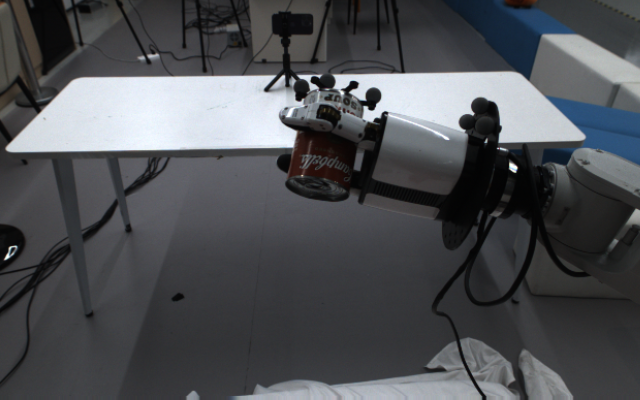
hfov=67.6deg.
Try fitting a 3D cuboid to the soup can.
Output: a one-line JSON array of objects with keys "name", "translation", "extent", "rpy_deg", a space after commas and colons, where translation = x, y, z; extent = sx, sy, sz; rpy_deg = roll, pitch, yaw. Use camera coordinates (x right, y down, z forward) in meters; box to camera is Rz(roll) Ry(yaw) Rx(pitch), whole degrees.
[{"name": "soup can", "translation": [0.008, -0.057, 0.509], "extent": [0.067, 0.067, 0.101], "rpy_deg": [8, 72, 9]}]
